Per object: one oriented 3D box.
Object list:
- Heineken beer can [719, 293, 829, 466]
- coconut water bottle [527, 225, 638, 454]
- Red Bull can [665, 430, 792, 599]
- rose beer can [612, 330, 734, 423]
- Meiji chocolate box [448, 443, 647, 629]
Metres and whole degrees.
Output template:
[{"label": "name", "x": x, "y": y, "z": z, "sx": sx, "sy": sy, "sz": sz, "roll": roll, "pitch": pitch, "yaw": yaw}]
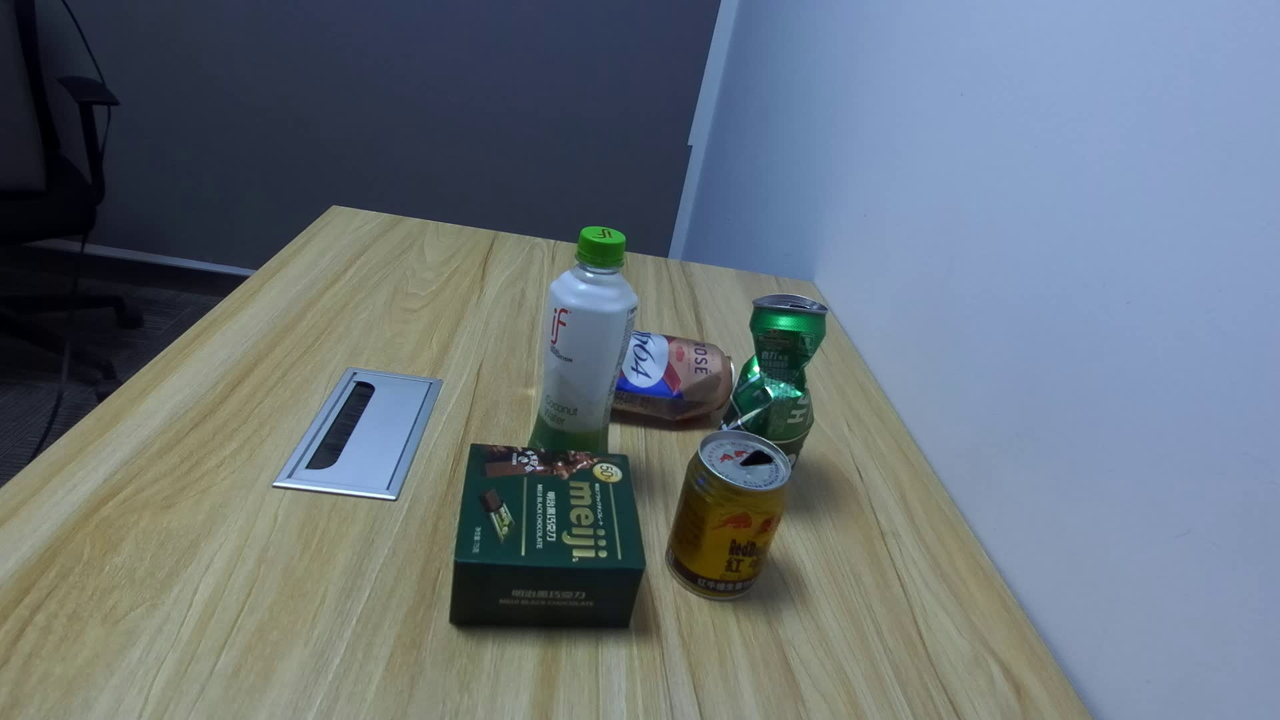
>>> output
[{"label": "Heineken beer can", "x": 0.101, "y": 0.030, "z": 0.539, "sx": 0.067, "sy": 0.159, "sz": 0.078, "roll": -4, "pitch": 27, "yaw": -29}, {"label": "coconut water bottle", "x": -0.040, "y": 0.000, "z": 0.501, "sx": 0.063, "sy": 0.188, "sz": 0.063, "roll": 9, "pitch": 27, "yaw": -4}, {"label": "Red Bull can", "x": 0.057, "y": 0.099, "z": 0.460, "sx": 0.069, "sy": 0.092, "sz": 0.069, "roll": 8, "pitch": 29, "yaw": -5}, {"label": "rose beer can", "x": 0.000, "y": 0.011, "z": 0.629, "sx": 0.168, "sy": 0.069, "sz": 0.069, "roll": 6, "pitch": 9, "yaw": -11}, {"label": "Meiji chocolate box", "x": -0.059, "y": 0.108, "z": 0.446, "sx": 0.109, "sy": 0.056, "sz": 0.109, "roll": 6, "pitch": 29, "yaw": -11}]
